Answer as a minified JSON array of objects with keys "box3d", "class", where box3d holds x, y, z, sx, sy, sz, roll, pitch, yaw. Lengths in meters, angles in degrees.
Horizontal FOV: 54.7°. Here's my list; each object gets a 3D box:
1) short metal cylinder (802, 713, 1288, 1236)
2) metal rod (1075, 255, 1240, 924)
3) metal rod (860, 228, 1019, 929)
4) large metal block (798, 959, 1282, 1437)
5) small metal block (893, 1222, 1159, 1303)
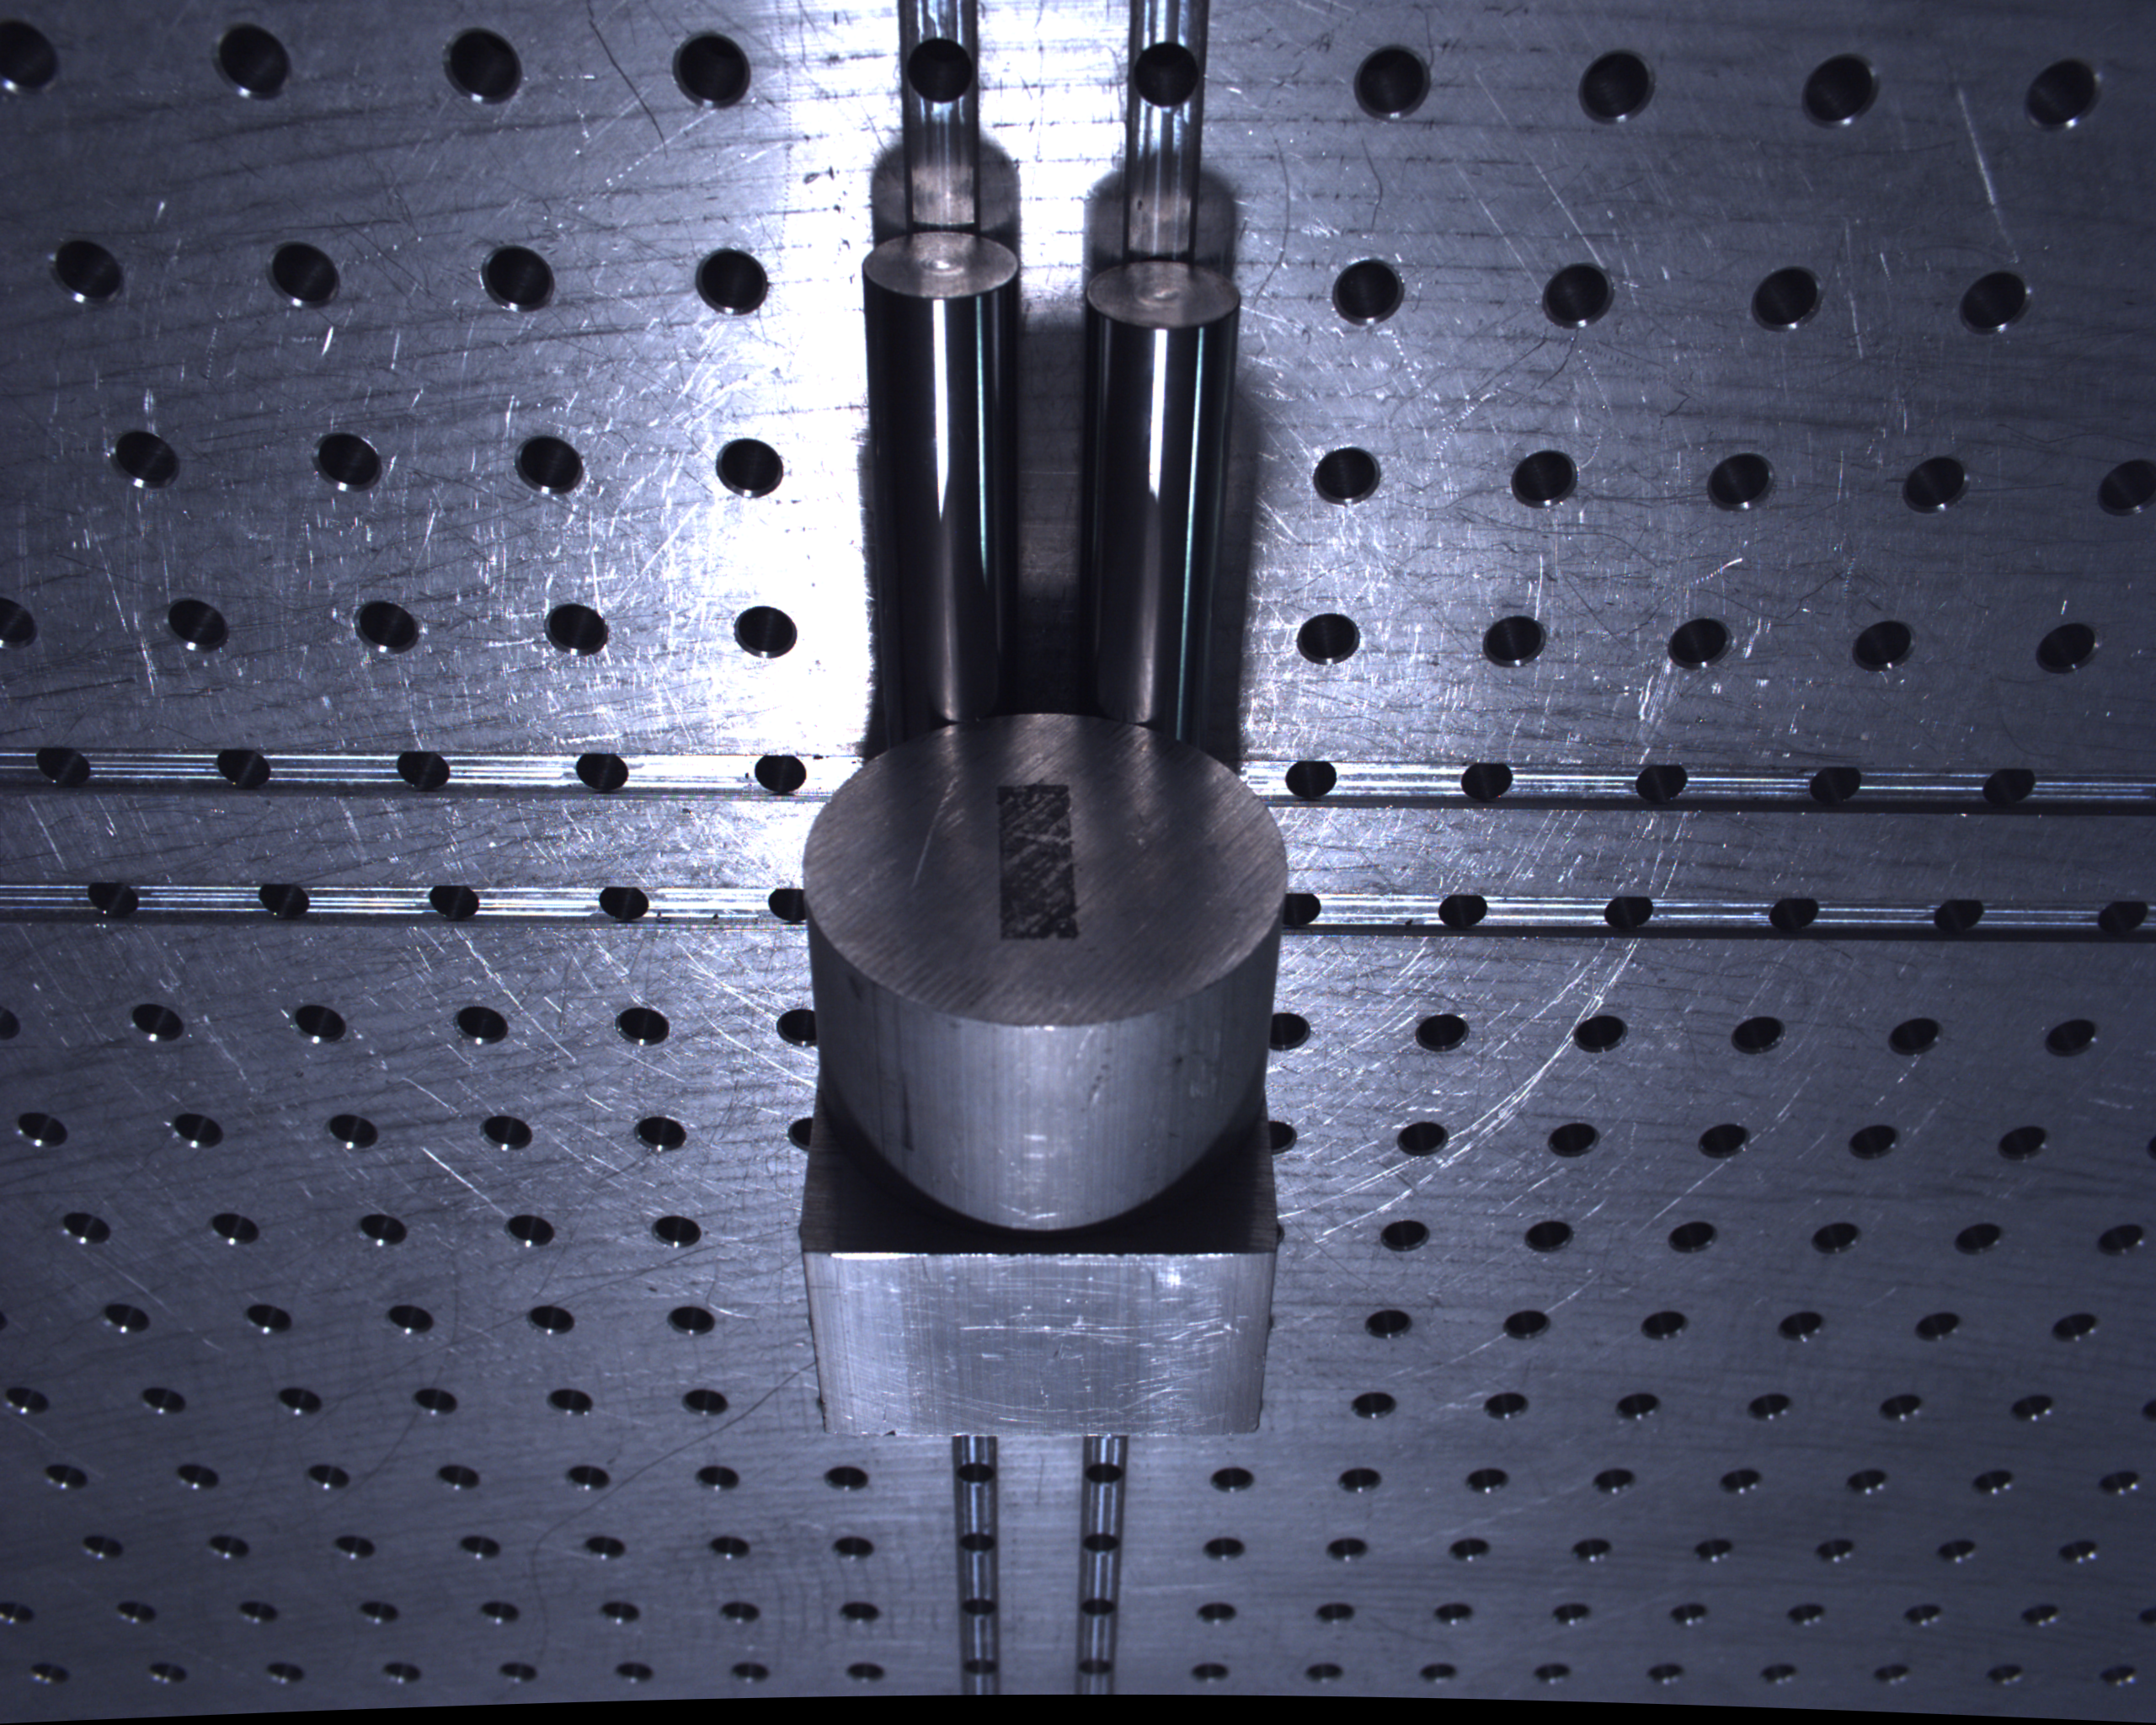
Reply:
[{"box3d":[-0.006,0.018,0.363,0.081,0.080,0.050,1,130,-1],"class":"short metal cylinder"},{"box3d":[0.011,0.021,0.431,0.025,0.025,0.298,0,130,-1],"class":"metal rod"},{"box3d":[-0.025,0.018,0.428,0.025,0.025,0.298,0,130,-1],"class":"metal rod"},{"box3d":[-0.007,0.060,0.394,0.081,0.080,0.050,0,130,-1],"class":"large metal block"},{"box3d":[-0.008,0.077,0.431,0.050,0.050,0.025,-32,141,-34],"class":"small metal block"}]
